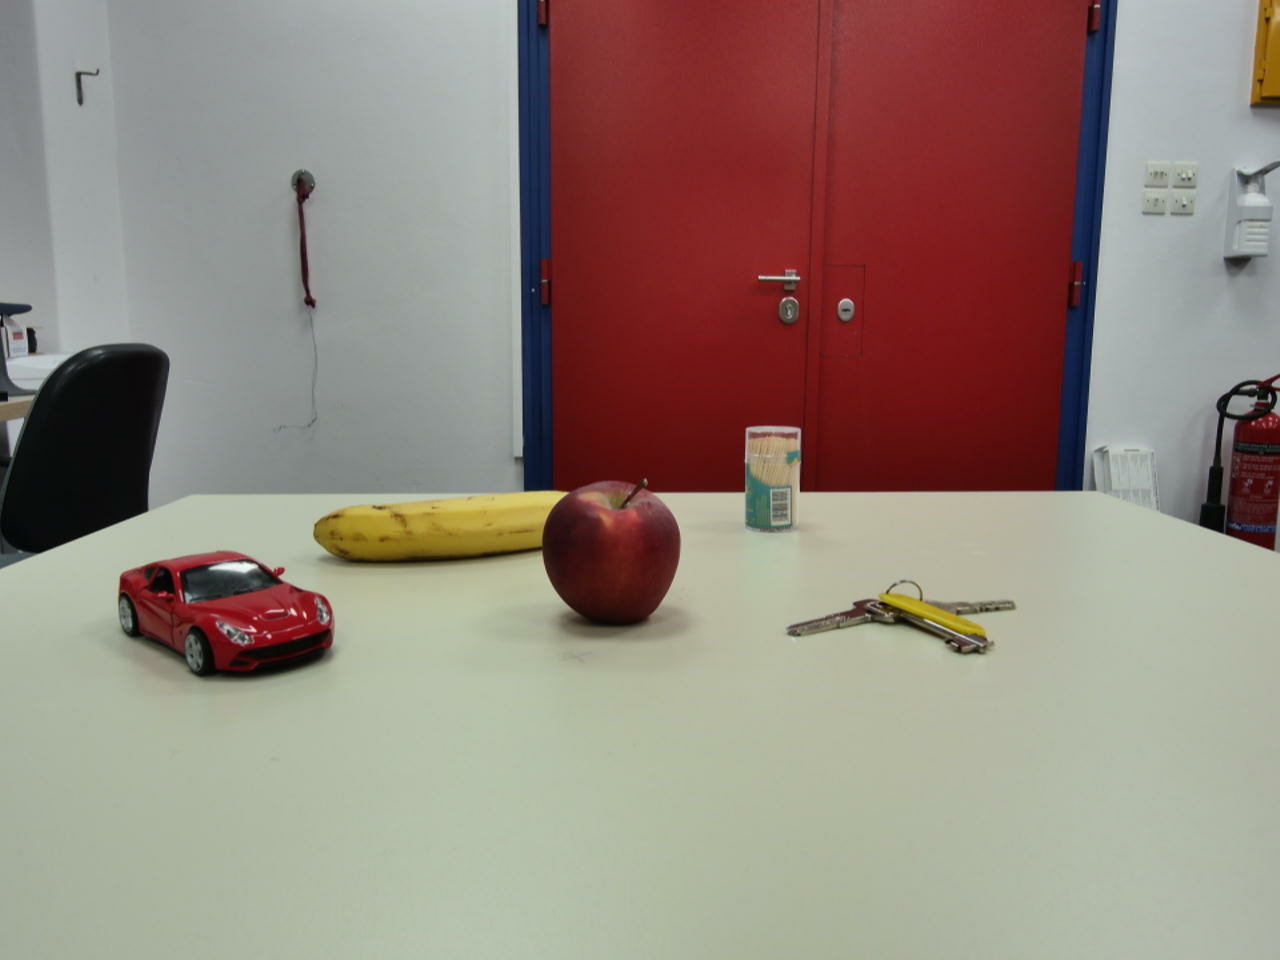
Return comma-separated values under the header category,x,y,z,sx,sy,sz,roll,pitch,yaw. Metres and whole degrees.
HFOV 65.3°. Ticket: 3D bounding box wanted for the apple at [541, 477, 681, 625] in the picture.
category,x,y,z,sx,sy,sz,roll,pitch,yaw
apple,-0.014,0.034,0.504,0.070,0.072,0.070,-1,7,0
